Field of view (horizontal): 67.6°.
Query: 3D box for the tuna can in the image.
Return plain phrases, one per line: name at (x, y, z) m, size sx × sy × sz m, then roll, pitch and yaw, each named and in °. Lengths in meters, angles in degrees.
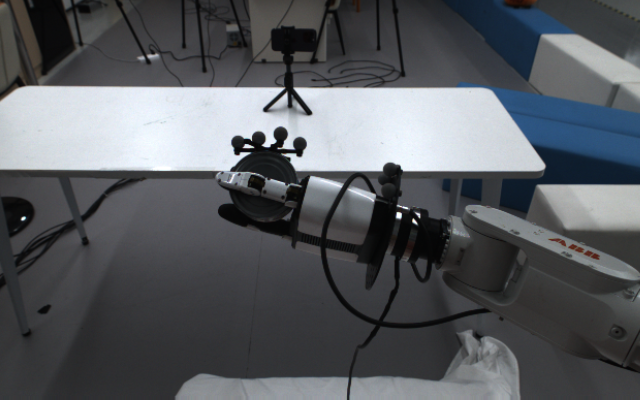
tuna can at (-0.068, -0.016, 0.607) m, size 0.085 × 0.034 × 0.085 m, roll -1°, pitch 77°, yaw 4°
